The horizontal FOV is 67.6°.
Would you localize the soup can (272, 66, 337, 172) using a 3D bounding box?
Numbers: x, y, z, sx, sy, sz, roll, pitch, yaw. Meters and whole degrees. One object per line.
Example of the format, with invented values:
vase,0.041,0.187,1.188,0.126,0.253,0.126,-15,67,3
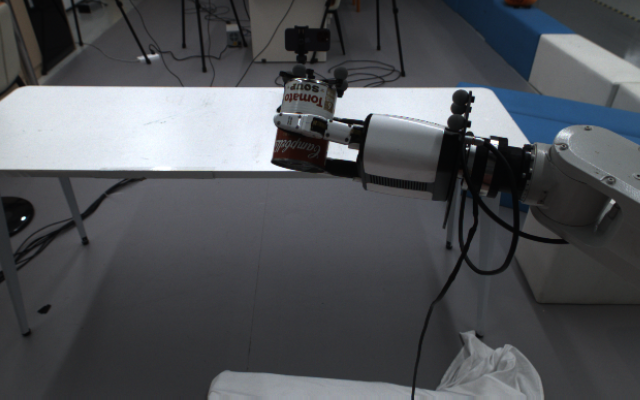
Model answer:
soup can,-0.018,-0.091,0.598,0.067,0.101,0.067,9,-5,1
